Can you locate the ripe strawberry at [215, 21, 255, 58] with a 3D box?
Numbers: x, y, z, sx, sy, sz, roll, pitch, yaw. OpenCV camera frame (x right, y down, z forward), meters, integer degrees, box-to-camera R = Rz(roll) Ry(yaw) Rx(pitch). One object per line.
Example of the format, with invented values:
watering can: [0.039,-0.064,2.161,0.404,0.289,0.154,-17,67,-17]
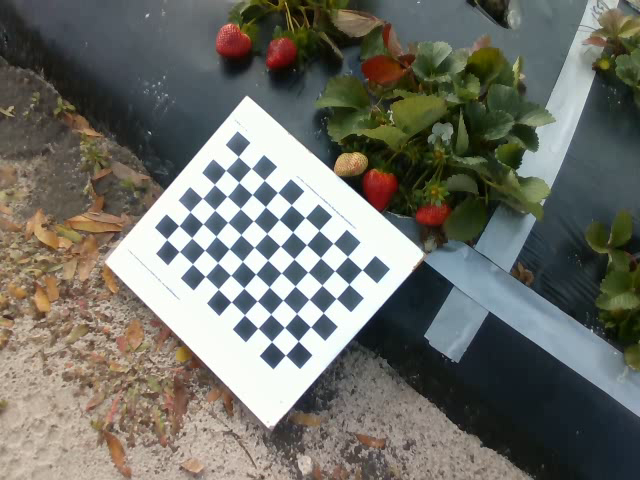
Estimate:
ripe strawberry: [-0.115,-0.261,0.917,0.050,0.045,0.061,31,52,15]

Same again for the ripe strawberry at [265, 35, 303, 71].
ripe strawberry: [-0.050,-0.249,0.913,0.042,0.053,0.034,25,-36,15]
